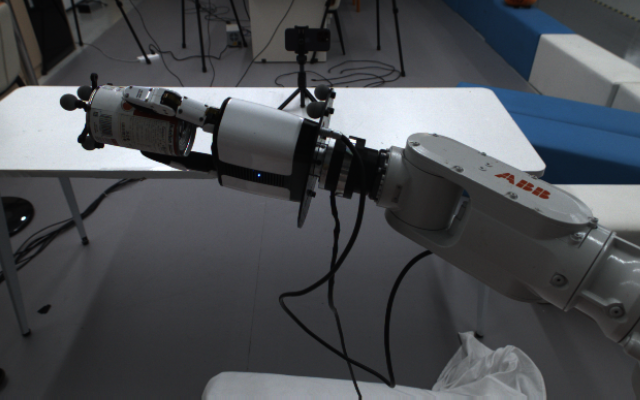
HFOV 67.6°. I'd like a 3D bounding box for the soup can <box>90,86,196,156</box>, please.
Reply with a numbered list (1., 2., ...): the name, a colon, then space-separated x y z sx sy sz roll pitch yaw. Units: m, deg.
1. soup can: -0.196 -0.088 0.547 0.101 0.067 0.067 10 35 -1
